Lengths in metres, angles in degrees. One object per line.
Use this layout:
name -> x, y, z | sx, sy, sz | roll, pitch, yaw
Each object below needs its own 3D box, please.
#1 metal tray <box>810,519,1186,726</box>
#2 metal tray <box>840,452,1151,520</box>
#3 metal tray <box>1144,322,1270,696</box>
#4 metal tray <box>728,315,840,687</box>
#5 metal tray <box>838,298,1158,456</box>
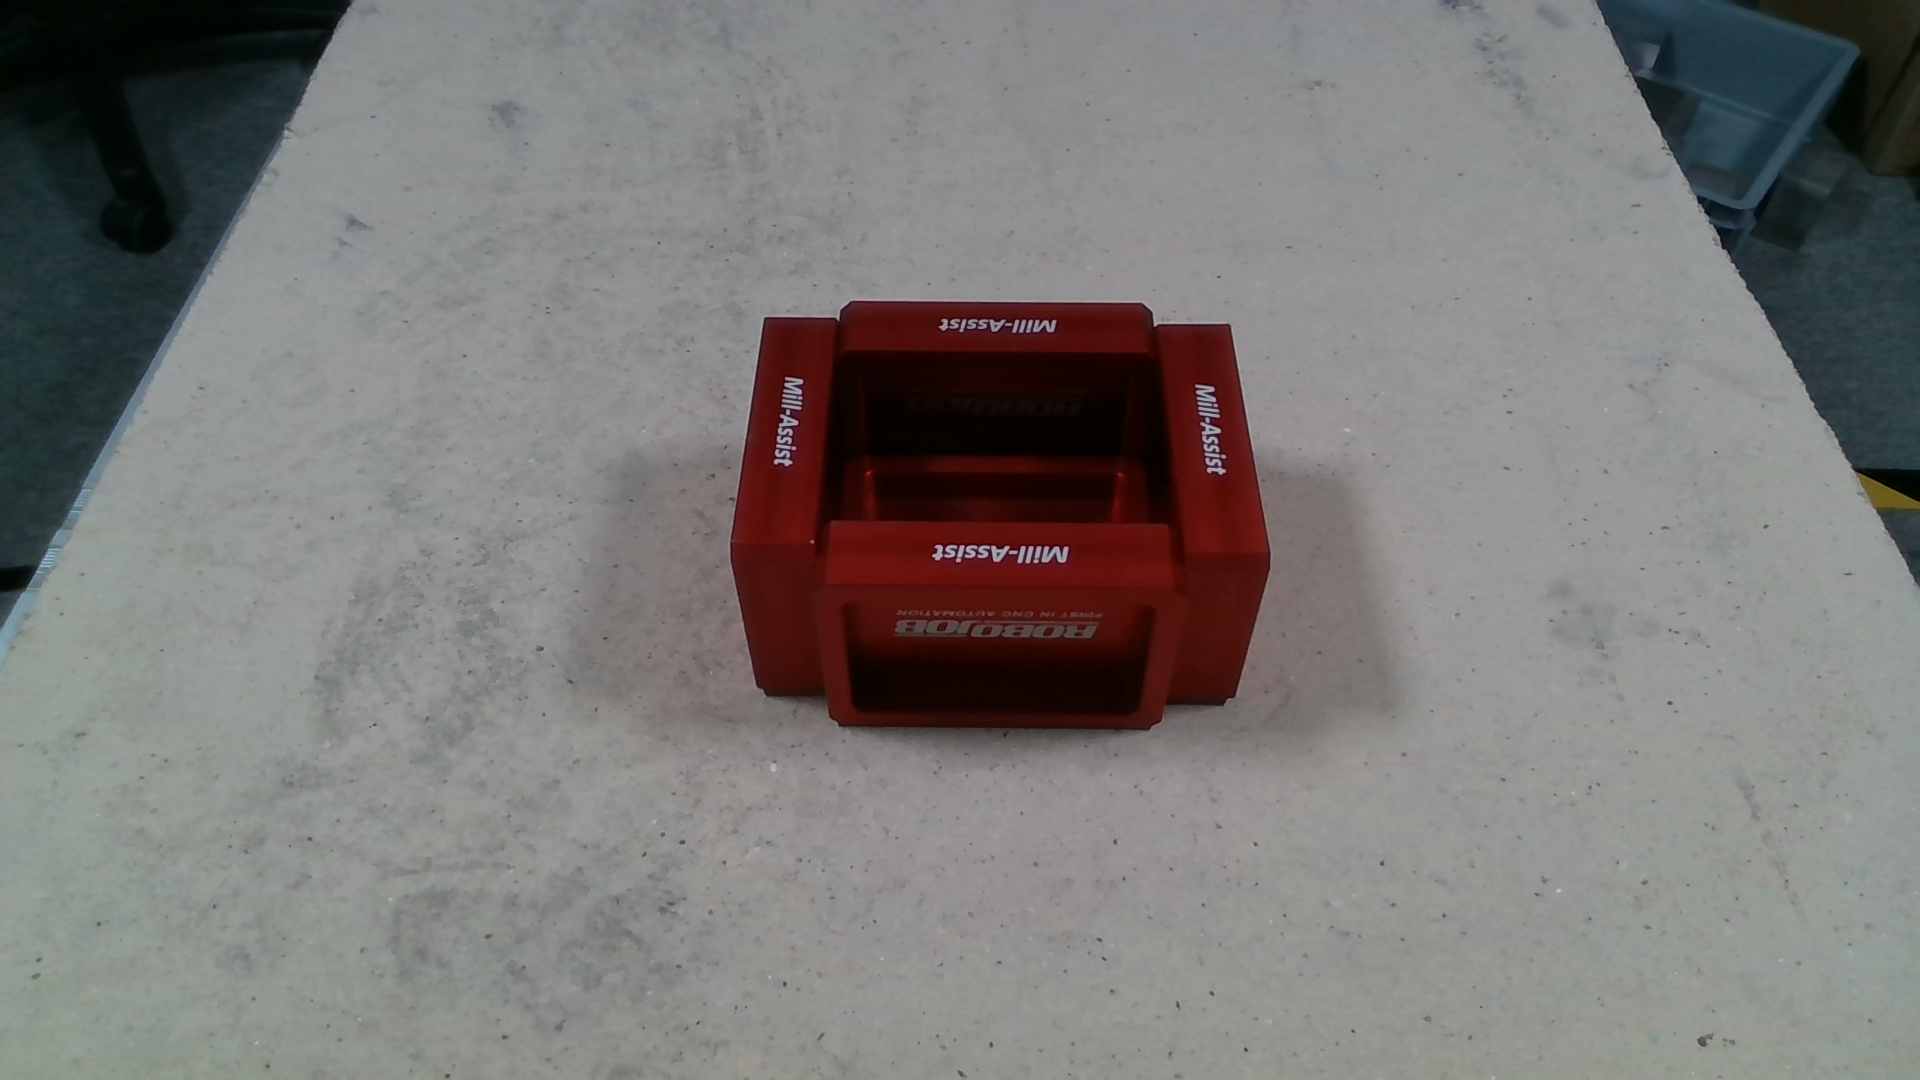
metal tray -> 0.013, 0.033, 0.517 | 0.130, 0.090, 0.030 | 0, 50, 0
metal tray -> 0.015, 0.006, 0.579 | 0.130, 0.030, 0.090 | 0, 50, 0
metal tray -> 0.095, -0.014, 0.555 | 0.030, 0.090, 0.130 | 0, 50, 0
metal tray -> -0.066, -0.017, 0.558 | 0.030, 0.090, 0.130 | 0, 50, 0
metal tray -> 0.015, -0.060, 0.594 | 0.130, 0.090, 0.030 | 0, 50, 0
